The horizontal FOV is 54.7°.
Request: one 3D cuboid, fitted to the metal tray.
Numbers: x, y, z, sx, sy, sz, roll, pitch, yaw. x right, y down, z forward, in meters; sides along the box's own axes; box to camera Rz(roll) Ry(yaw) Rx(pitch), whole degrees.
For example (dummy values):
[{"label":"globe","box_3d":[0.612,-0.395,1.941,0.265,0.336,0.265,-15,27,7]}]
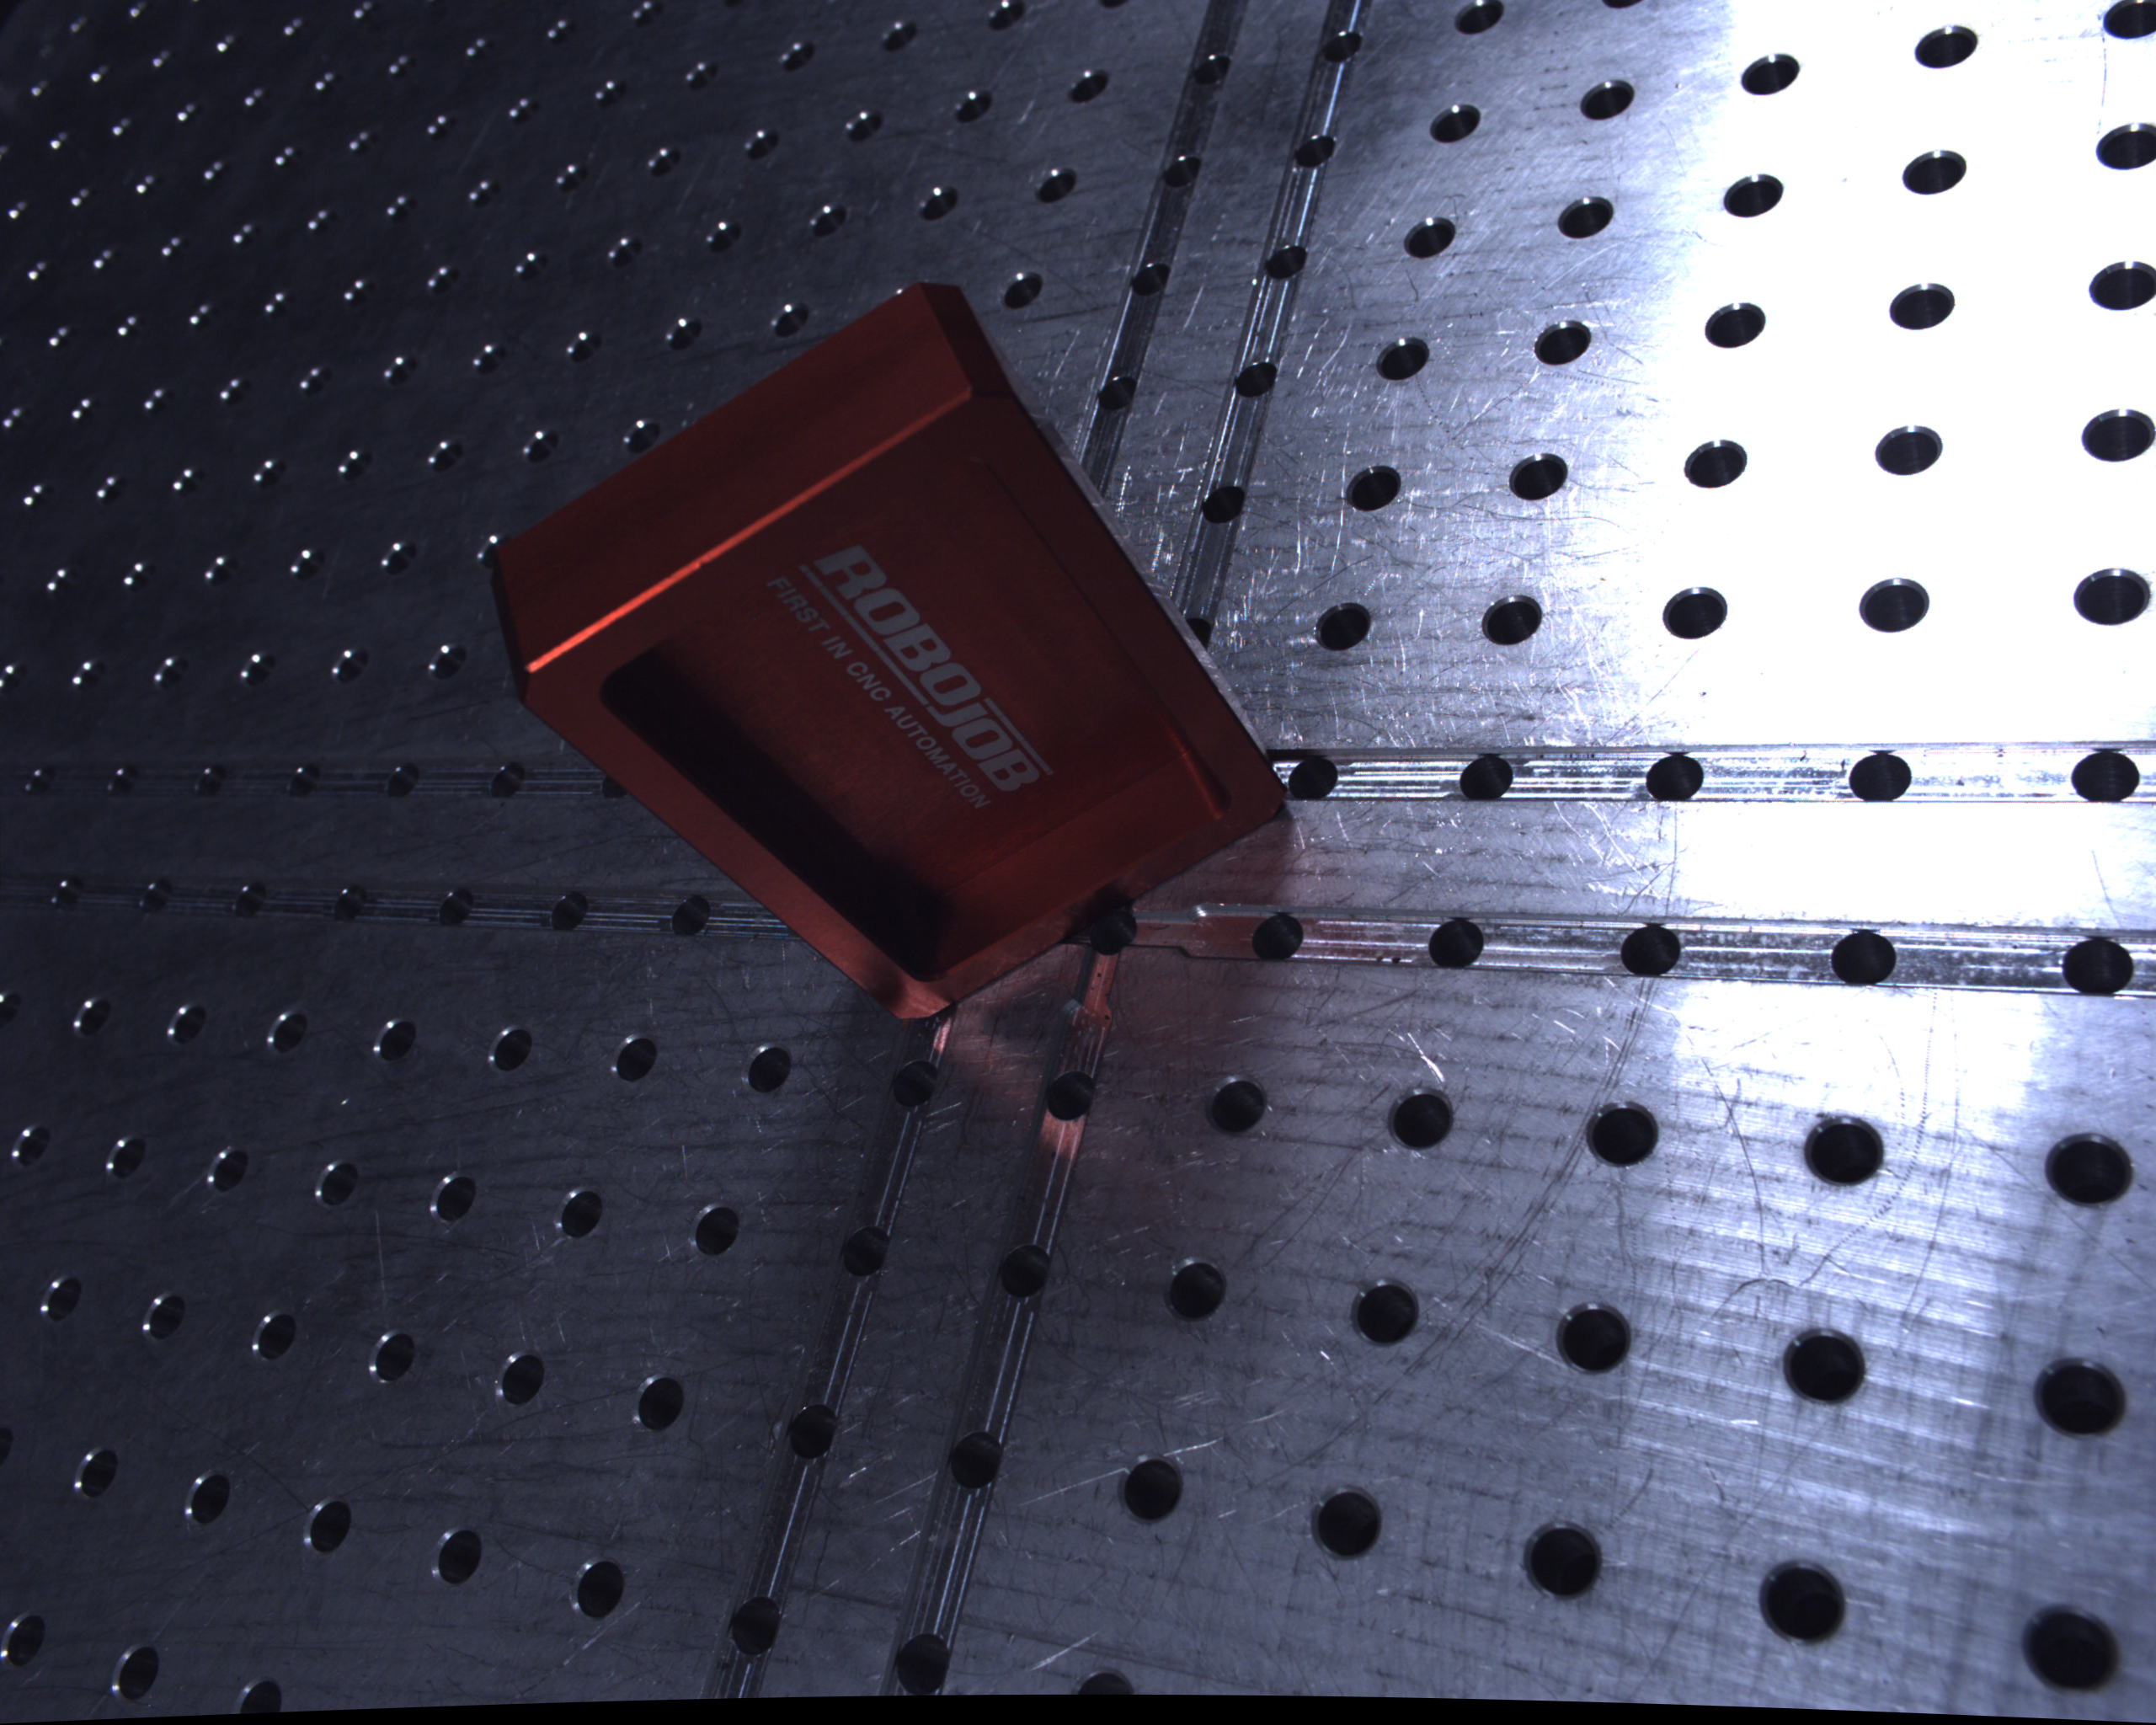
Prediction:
[{"label":"metal tray","box_3d":[-0.028,-0.030,0.372,0.090,0.130,0.030,-31,52,8]}]
